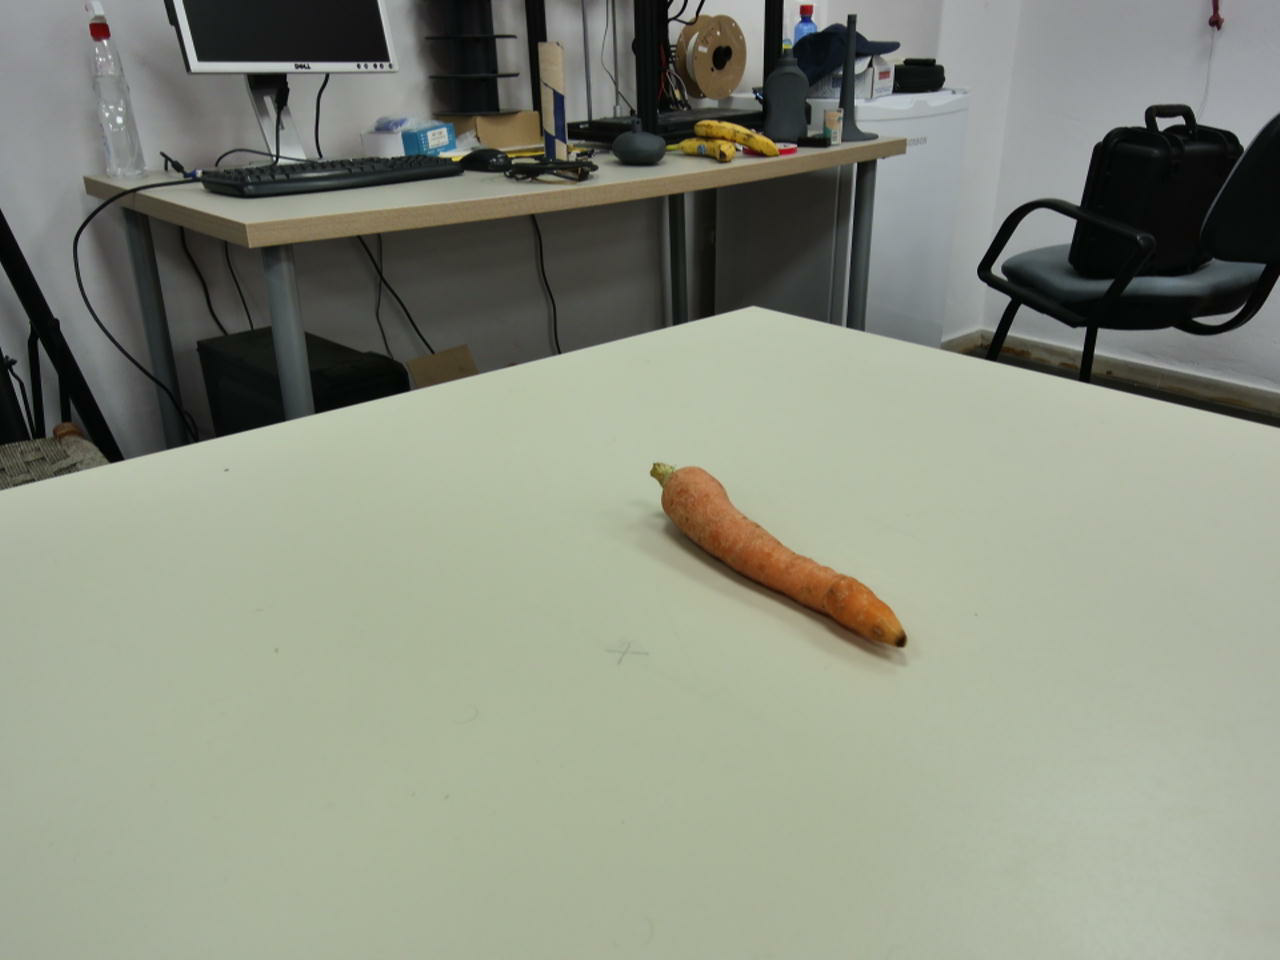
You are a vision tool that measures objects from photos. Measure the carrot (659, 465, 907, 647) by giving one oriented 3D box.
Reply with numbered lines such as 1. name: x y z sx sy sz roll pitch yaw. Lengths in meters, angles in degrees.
1. carrot: 0.056 0.030 0.453 0.030 0.032 0.173 -12 24 -27
